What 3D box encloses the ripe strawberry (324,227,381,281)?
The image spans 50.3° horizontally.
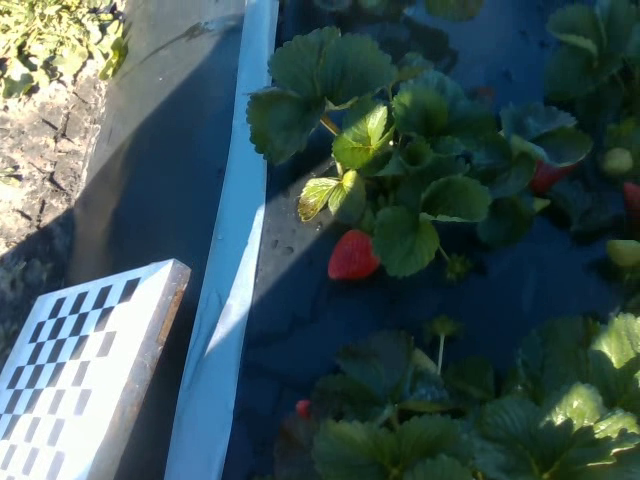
[{"bbox_3d":[0.026,0.016,0.555,0.058,0.042,0.045,-42,31,-16],"label":"ripe strawberry"}]
